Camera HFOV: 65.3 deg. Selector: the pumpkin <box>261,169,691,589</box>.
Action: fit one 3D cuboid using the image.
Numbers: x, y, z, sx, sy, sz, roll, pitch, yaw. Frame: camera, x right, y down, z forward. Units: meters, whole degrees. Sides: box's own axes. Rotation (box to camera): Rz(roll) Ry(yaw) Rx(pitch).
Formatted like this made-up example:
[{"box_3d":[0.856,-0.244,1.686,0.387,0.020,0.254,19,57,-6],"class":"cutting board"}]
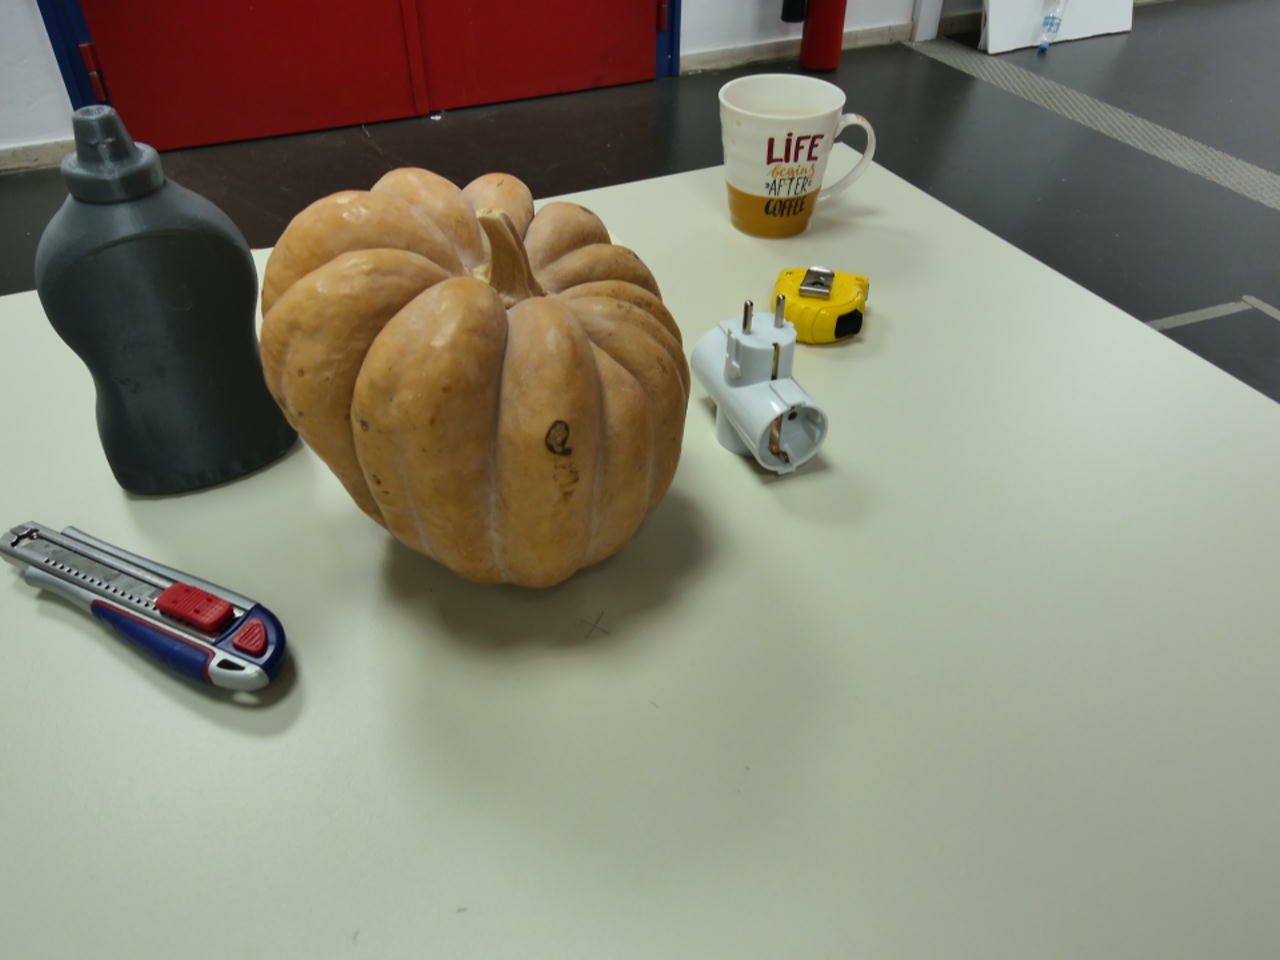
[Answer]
[{"box_3d":[-0.071,-0.046,0.462,0.199,0.177,0.198,0,38,0],"class":"pumpkin"}]
